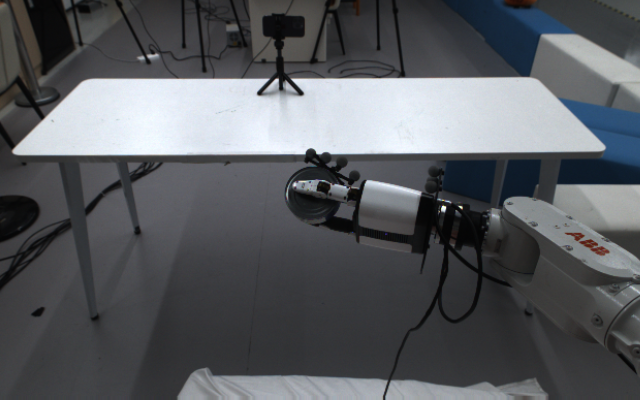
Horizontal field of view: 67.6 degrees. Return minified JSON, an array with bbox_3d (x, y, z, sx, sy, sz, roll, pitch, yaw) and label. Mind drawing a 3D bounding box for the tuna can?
[{"bbox_3d":[-0.010,-0.007,0.749,0.085,0.034,0.085,-2,71,6],"label":"tuna can"}]
